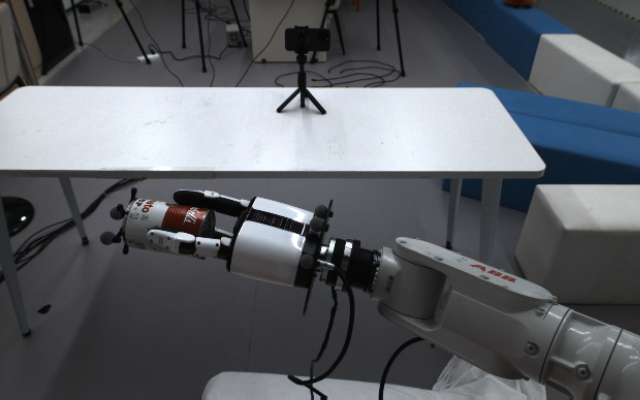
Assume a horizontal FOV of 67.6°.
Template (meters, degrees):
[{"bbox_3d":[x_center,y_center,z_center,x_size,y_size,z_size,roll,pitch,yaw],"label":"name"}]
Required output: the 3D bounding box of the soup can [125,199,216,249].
[{"bbox_3d":[-0.196,0.039,0.639,0.101,0.067,0.067,9,35,2],"label":"soup can"}]
